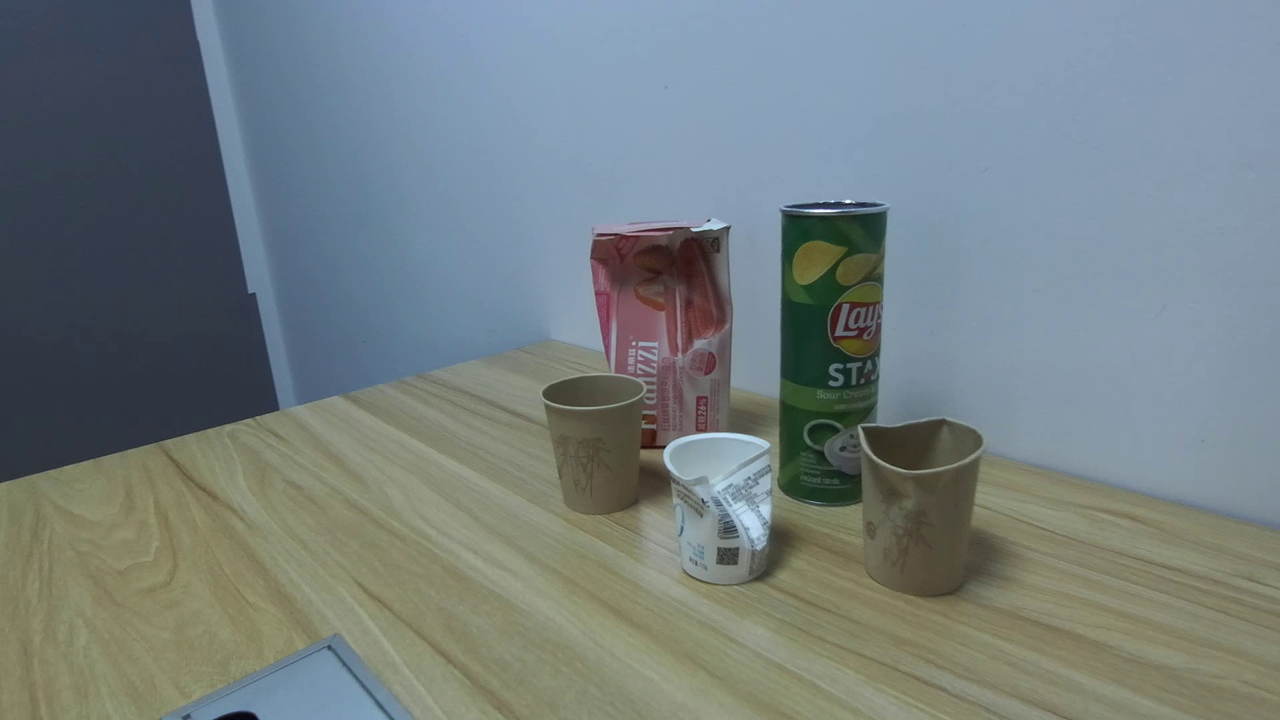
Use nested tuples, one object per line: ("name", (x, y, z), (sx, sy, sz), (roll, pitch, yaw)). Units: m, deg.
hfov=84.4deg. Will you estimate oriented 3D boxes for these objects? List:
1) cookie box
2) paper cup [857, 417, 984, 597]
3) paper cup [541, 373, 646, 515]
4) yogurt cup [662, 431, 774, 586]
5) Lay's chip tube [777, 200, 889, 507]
("cookie box", (0.019, -0.019, 0.580), (0.118, 0.184, 0.055), (-1, 17, 10))
("paper cup", (0.159, 0.082, 0.394), (0.072, 0.084, 0.066), (-5, 16, -9))
("paper cup", (-0.030, 0.060, 0.500), (0.075, 0.082, 0.075), (-3, 16, 1))
("yogurt cup", (0.047, 0.087, 0.418), (0.067, 0.070, 0.067), (-4, 18, 2))
("Lay's chip tube", (0.130, -0.005, 0.484), (0.071, 0.202, 0.071), (-2, 17, 1))
